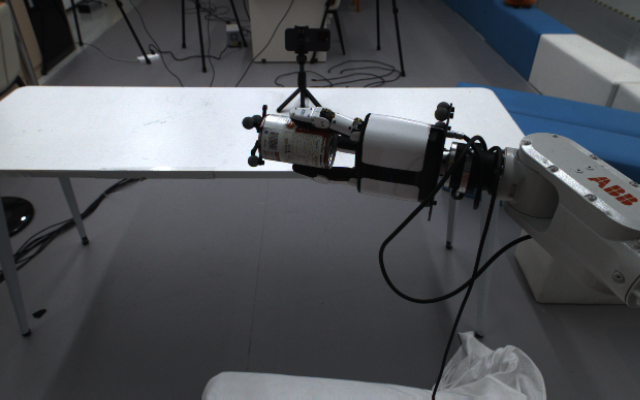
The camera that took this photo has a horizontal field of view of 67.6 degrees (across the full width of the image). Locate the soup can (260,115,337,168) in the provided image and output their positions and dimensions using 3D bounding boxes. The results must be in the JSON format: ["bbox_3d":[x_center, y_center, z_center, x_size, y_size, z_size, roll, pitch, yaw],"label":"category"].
[{"bbox_3d":[-0.029,-0.084,0.694,0.101,0.067,0.067,9,35,10],"label":"soup can"}]
